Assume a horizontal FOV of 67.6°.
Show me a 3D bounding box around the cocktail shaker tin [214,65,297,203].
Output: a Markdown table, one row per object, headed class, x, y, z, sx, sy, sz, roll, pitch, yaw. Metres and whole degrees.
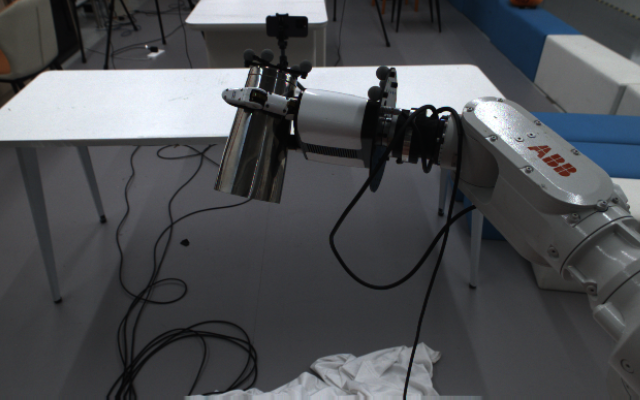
| class | x | y | z | sx | sy | sz | roll | pitch | yaw |
| --- | --- | --- | --- | --- | --- | --- | --- | --- | --- |
| cocktail shaker tin | -0.078 | -0.090 | 0.657 | 0.093 | 0.170 | 0.093 | 13 | 1 | 0 |
